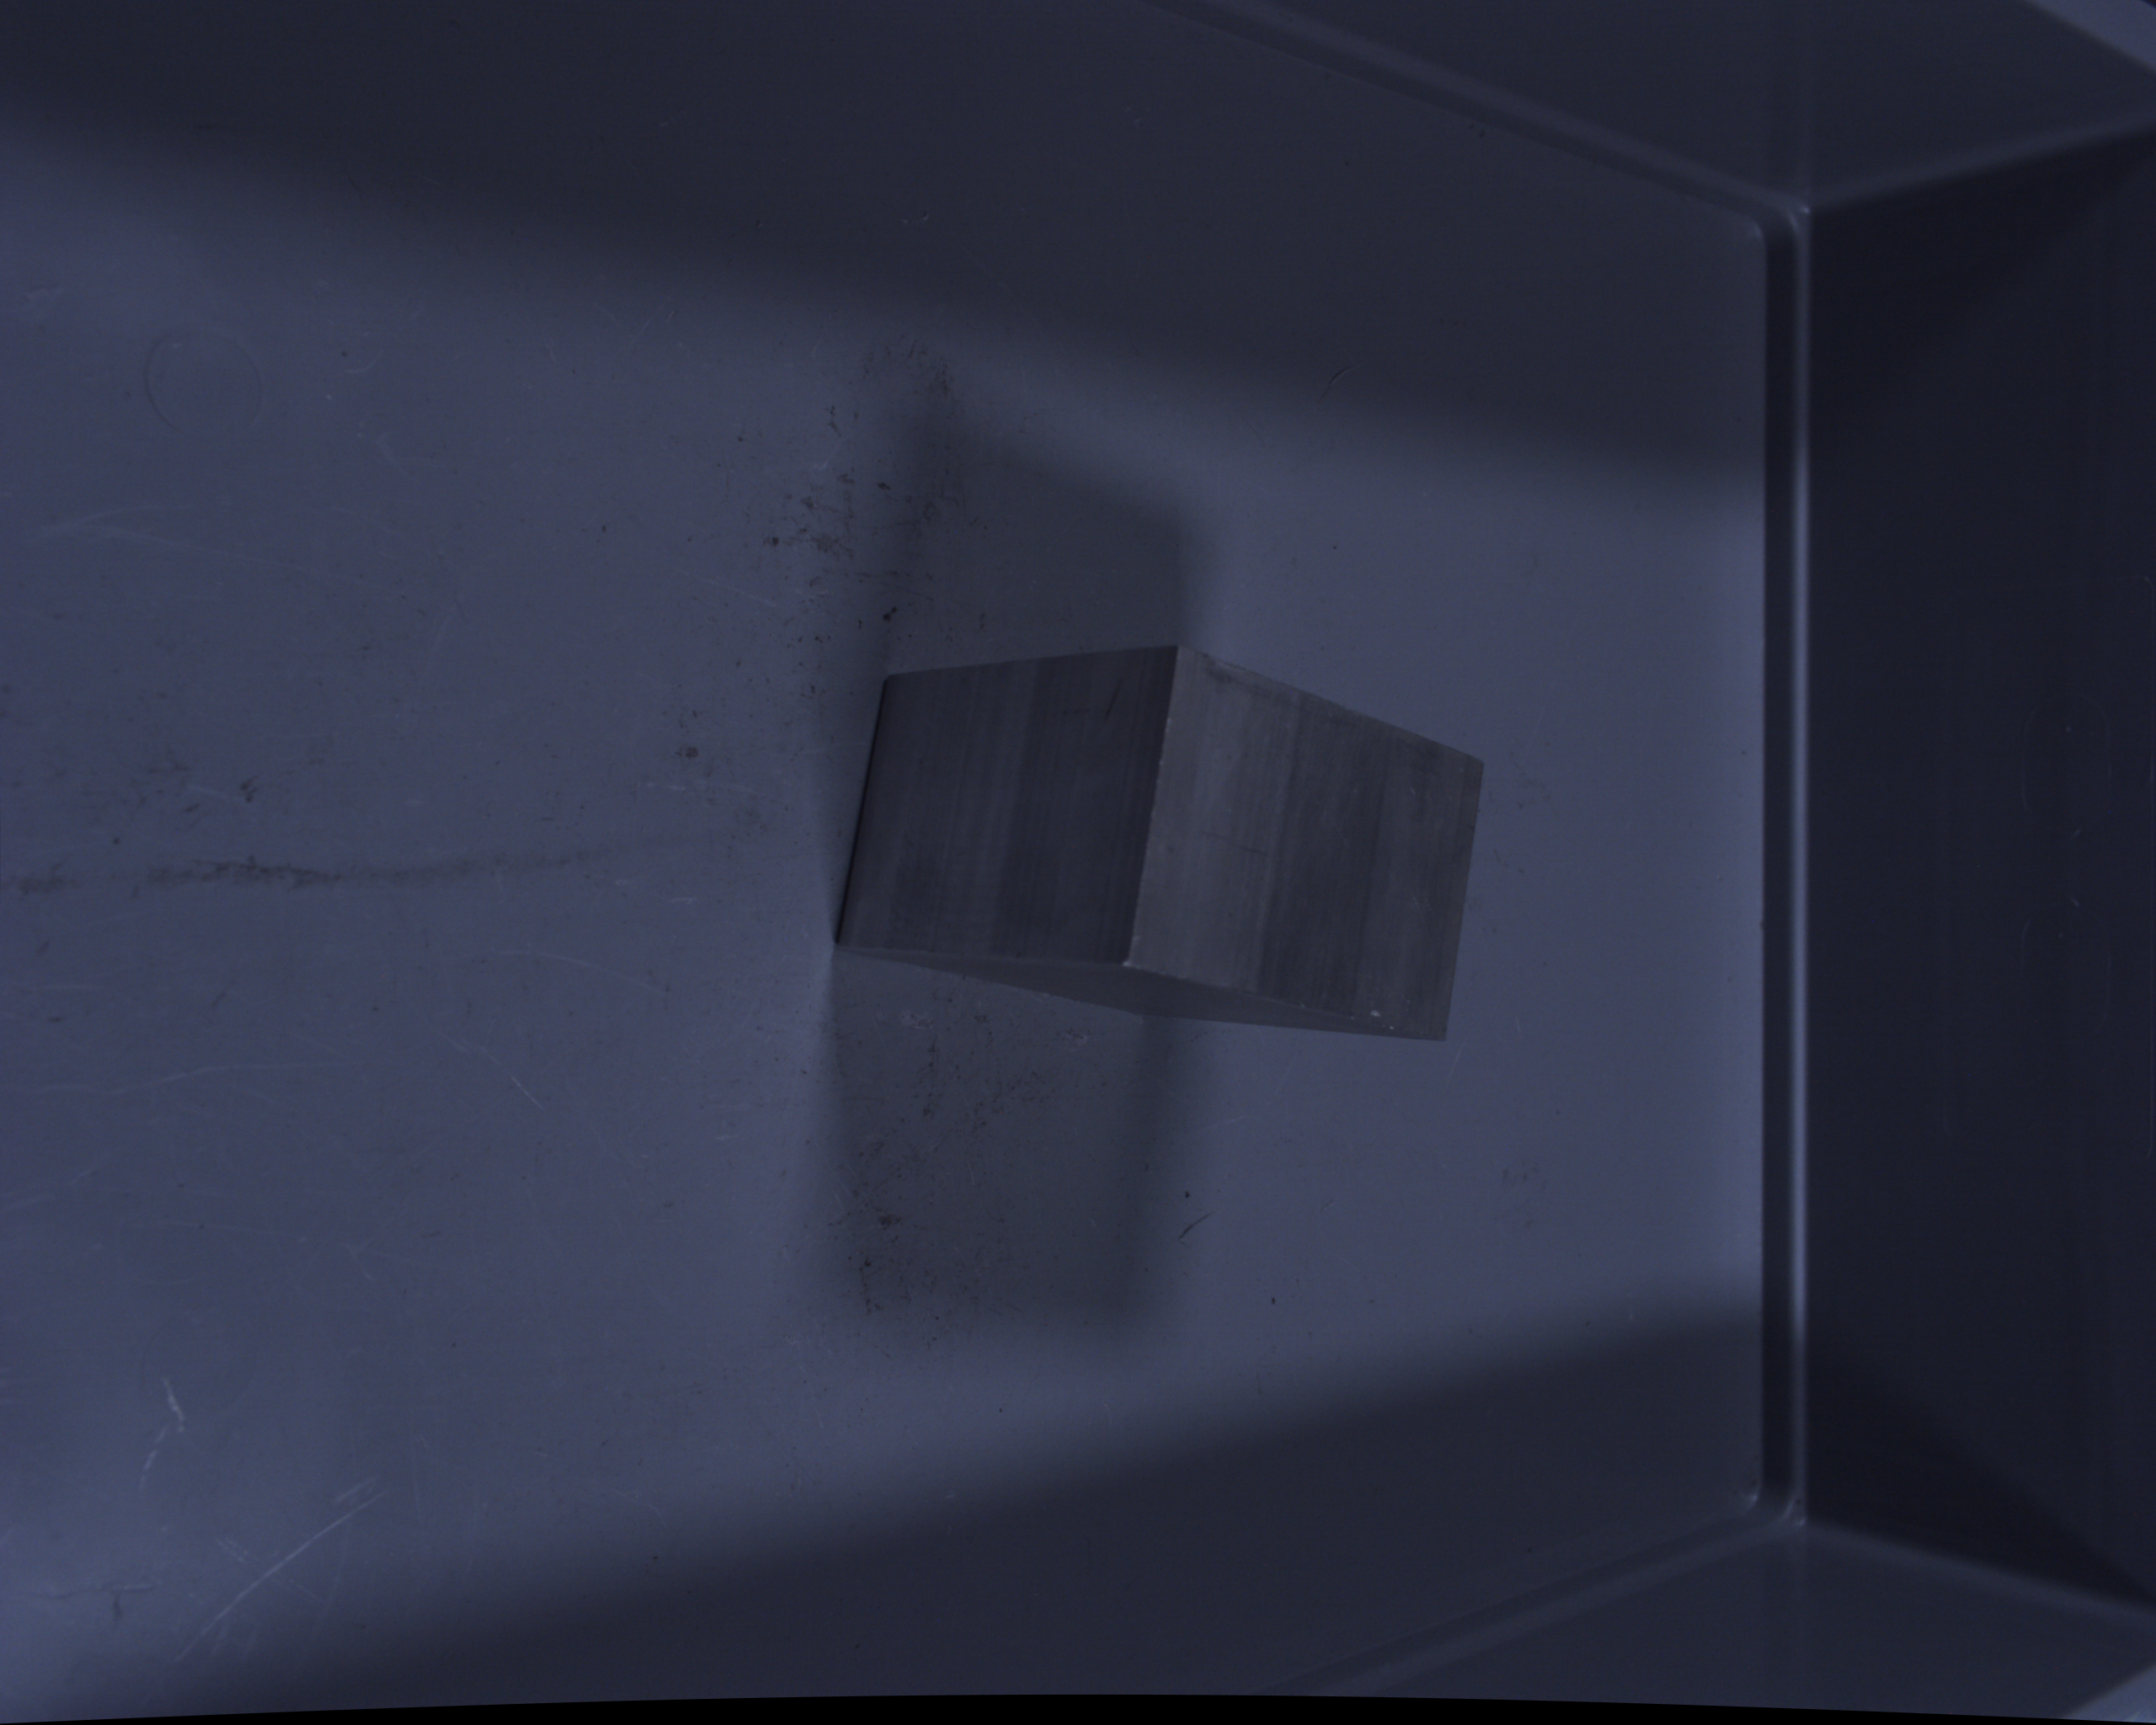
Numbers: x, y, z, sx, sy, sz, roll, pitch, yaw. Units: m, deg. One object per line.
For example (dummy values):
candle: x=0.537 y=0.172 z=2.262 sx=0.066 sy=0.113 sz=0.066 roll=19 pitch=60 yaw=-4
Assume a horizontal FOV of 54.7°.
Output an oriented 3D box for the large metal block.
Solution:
large metal block: x=0.016 y=-0.001 z=0.383 sx=0.081 sy=0.080 sz=0.050 roll=16 pitch=80 yaw=-39
